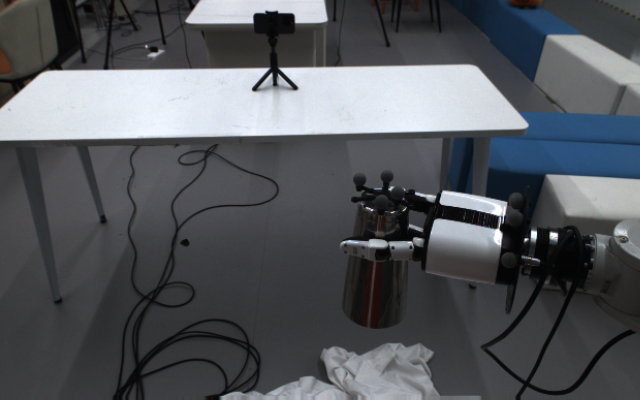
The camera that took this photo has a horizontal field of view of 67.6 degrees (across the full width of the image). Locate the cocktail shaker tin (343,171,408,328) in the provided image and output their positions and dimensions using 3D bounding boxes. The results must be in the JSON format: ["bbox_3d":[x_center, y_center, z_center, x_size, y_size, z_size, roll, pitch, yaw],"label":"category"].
[{"bbox_3d":[0.082,0.075,0.662,0.093,0.170,0.093,1,27,-1],"label":"cocktail shaker tin"}]
